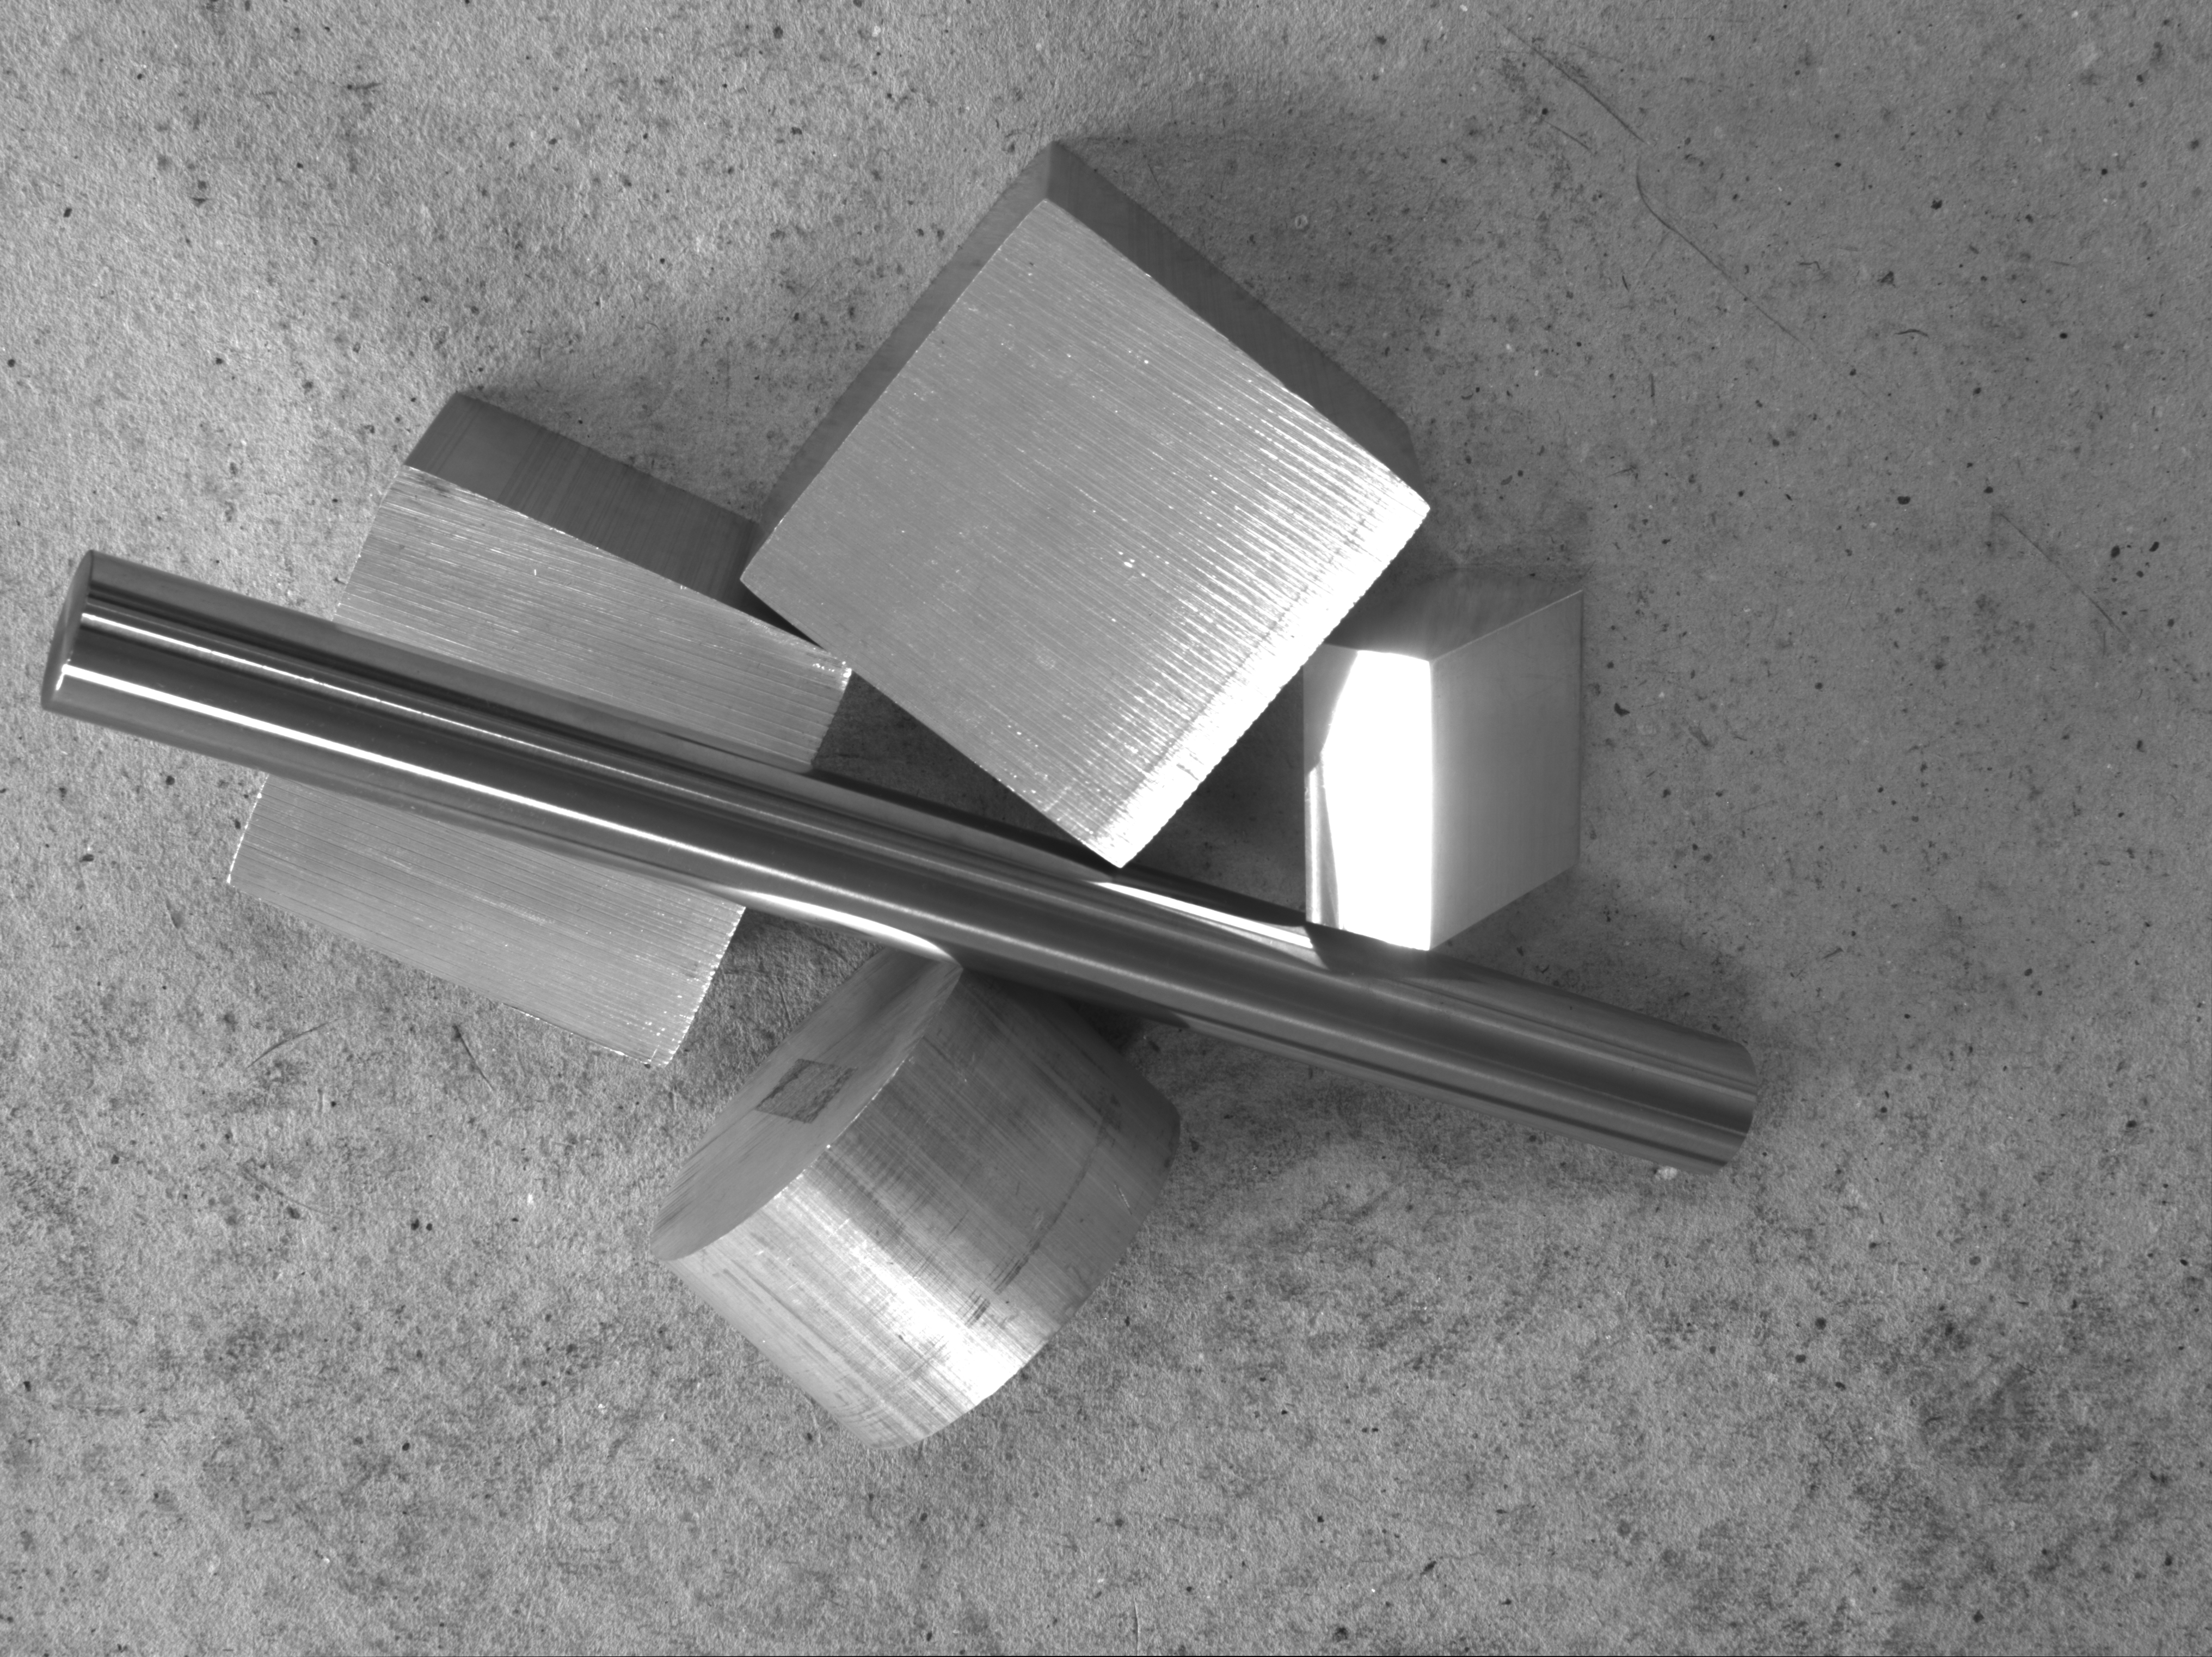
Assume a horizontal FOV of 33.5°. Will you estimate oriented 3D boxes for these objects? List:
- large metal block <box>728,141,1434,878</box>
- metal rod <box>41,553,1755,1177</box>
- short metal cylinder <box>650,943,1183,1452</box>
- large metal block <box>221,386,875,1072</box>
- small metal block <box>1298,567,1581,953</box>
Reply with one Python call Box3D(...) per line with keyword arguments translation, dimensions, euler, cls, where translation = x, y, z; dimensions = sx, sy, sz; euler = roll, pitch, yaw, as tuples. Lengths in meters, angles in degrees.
Box3D(translation=(-0.004, -0.053, 0.609), dimensions=(0.080, 0.050, 0.080), euler=(37, 106, -12), cls="large metal block")
Box3D(translation=(-0.022, 0.011, 0.605), dimensions=(0.301, 0.025, 0.025), euler=(17, 110, -23), cls="metal rod")
Box3D(translation=(-0.033, 0.060, 0.636), dimensions=(0.080, 0.080, 0.050), euler=(-42, 105, 14), cls="short metal cylinder")
Box3D(translation=(-0.093, -0.017, 0.624), dimensions=(0.080, 0.050, 0.080), euler=(24, 108, -8), cls="large metal block")
Box3D(translation=(0.057, -0.013, 0.624), dimensions=(0.025, 0.050, 0.050), euler=(12, 115, 34), cls="small metal block")
